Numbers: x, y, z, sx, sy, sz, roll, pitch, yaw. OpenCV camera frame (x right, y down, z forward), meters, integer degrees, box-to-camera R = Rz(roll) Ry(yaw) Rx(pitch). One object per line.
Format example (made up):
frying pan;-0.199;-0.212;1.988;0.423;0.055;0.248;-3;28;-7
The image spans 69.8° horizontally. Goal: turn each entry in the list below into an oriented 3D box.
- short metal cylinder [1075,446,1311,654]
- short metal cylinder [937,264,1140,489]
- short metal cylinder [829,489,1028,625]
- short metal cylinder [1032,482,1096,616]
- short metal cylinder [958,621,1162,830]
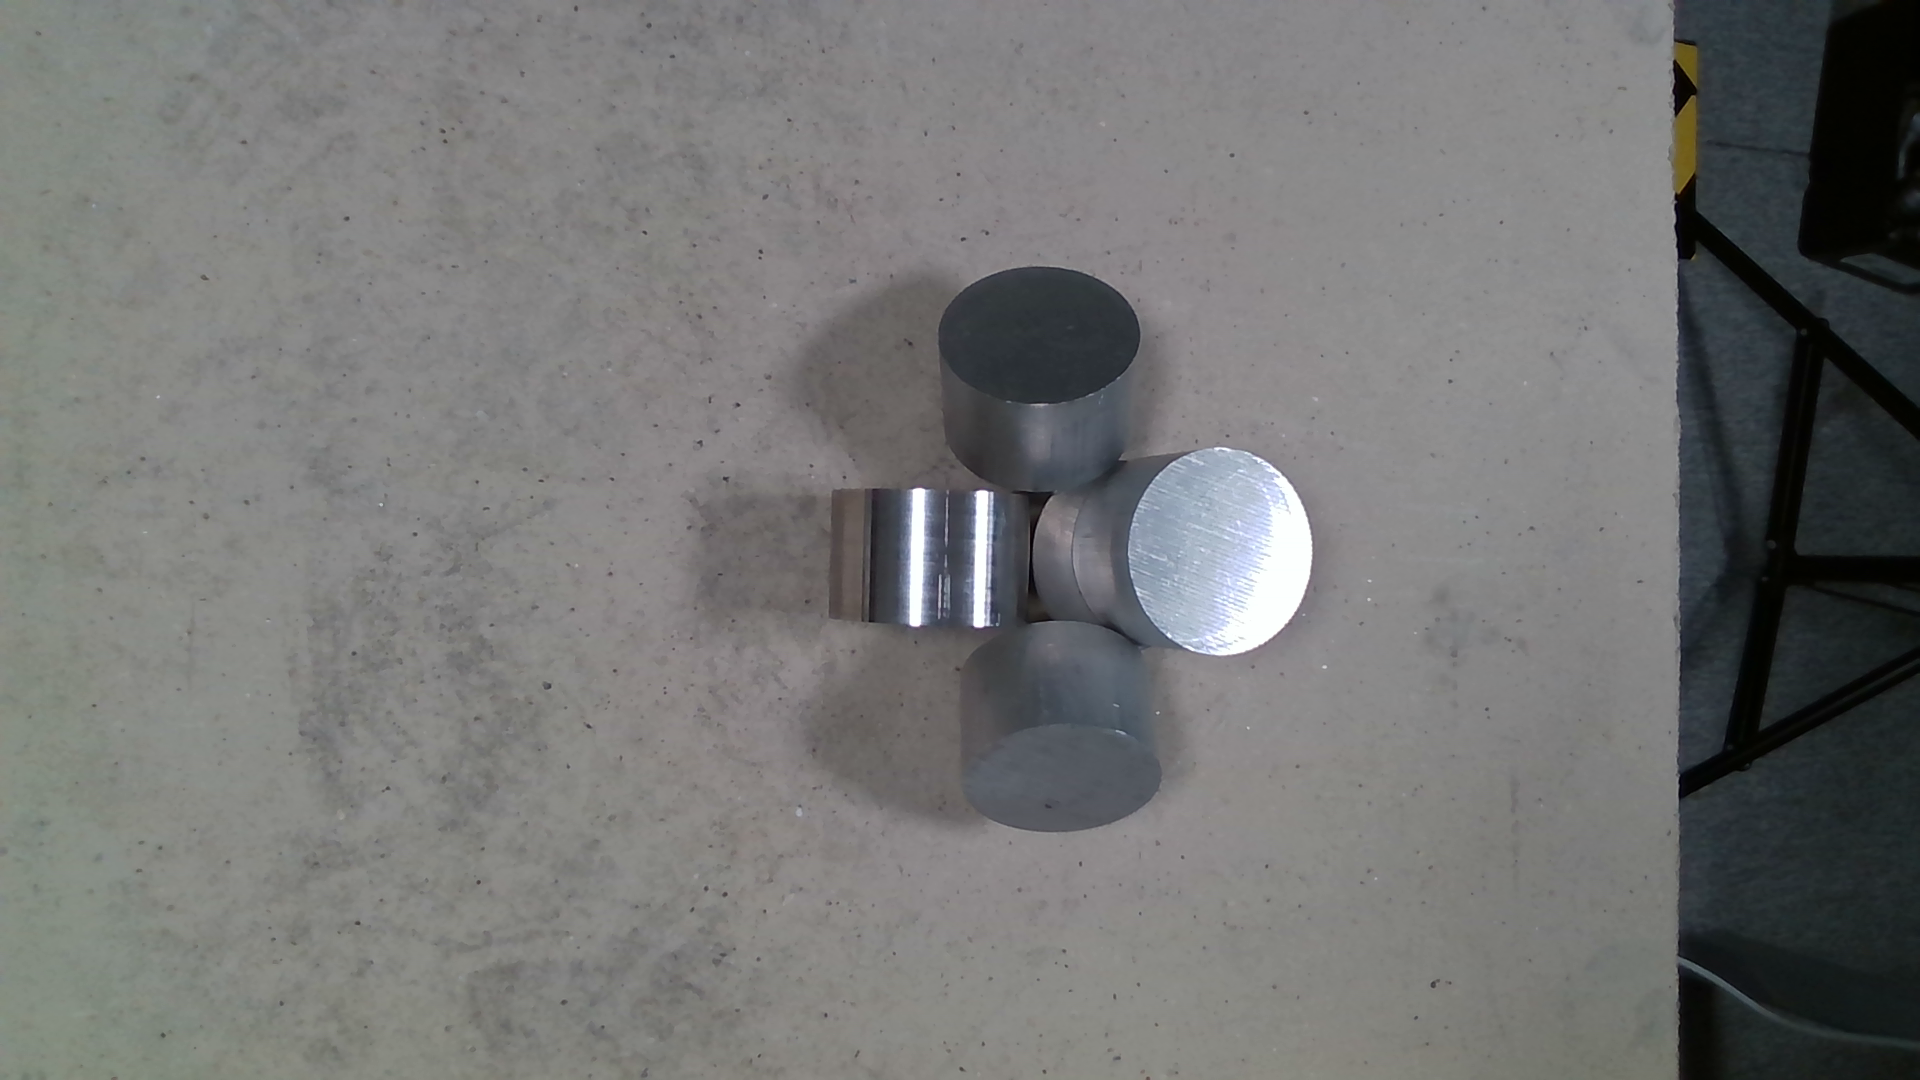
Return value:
short metal cylinder;0.092;0.004;0.553;0.080;0.050;0.080;0;90;-20
short metal cylinder;0.032;-0.067;0.563;0.080;0.050;0.080;-1;51;1
short metal cylinder;-0.013;0.007;0.551;0.080;0.080;0.050;2;89;-20
short metal cylinder;0.058;0.006;0.594;0.080;0.050;0.080;0;90;-20
short metal cylinder;0.040;0.077;0.566;0.080;0.080;0.050;16;46;-20
